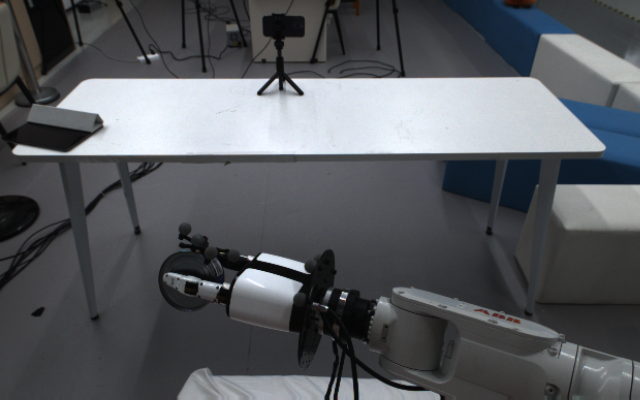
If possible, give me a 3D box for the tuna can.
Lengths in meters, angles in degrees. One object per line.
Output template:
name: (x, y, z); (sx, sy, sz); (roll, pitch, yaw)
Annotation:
tuna can: (-0.177, 0.112, 0.676); (0.085, 0.085, 0.034); (10, 4, 11)
